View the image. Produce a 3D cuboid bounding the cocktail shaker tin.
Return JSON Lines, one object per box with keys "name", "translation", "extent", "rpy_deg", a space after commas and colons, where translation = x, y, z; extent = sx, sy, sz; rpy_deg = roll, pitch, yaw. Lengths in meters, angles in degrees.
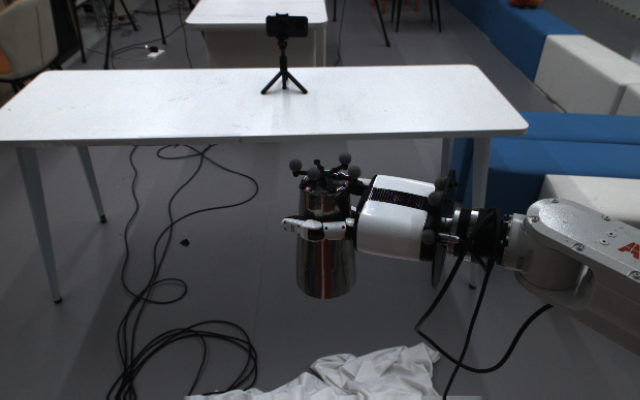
{"name": "cocktail shaker tin", "translation": [0.011, 0.043, 0.693], "extent": [0.093, 0.170, 0.093], "rpy_deg": [-1, 32, 1]}
